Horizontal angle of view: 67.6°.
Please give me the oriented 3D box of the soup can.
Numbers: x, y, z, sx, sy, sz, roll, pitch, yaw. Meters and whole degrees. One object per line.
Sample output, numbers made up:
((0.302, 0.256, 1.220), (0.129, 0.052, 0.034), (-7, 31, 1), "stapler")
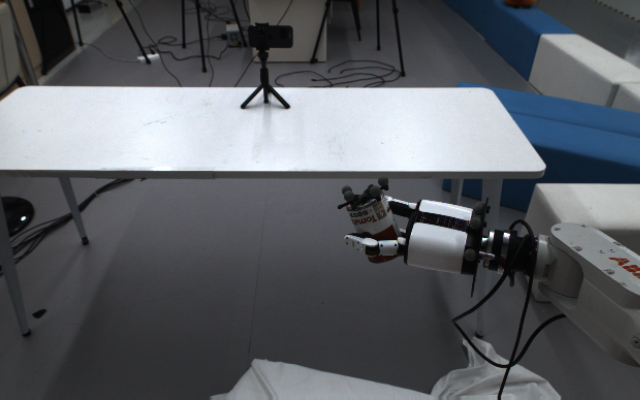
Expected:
((0.093, 0.043, 0.793), (0.067, 0.101, 0.067), (-23, 16, 7), "soup can")
